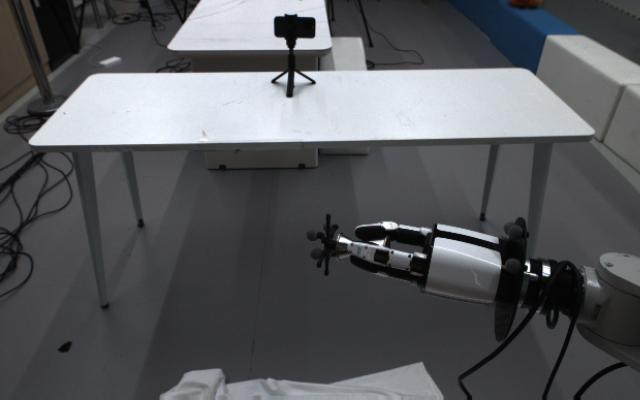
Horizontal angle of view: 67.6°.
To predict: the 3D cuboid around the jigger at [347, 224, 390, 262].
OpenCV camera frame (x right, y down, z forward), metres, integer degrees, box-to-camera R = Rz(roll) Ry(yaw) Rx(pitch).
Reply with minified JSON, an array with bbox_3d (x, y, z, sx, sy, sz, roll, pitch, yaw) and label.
[{"bbox_3d":[0.067,0.062,0.668,0.071,0.043,0.043,3,34,18],"label":"jigger"}]
